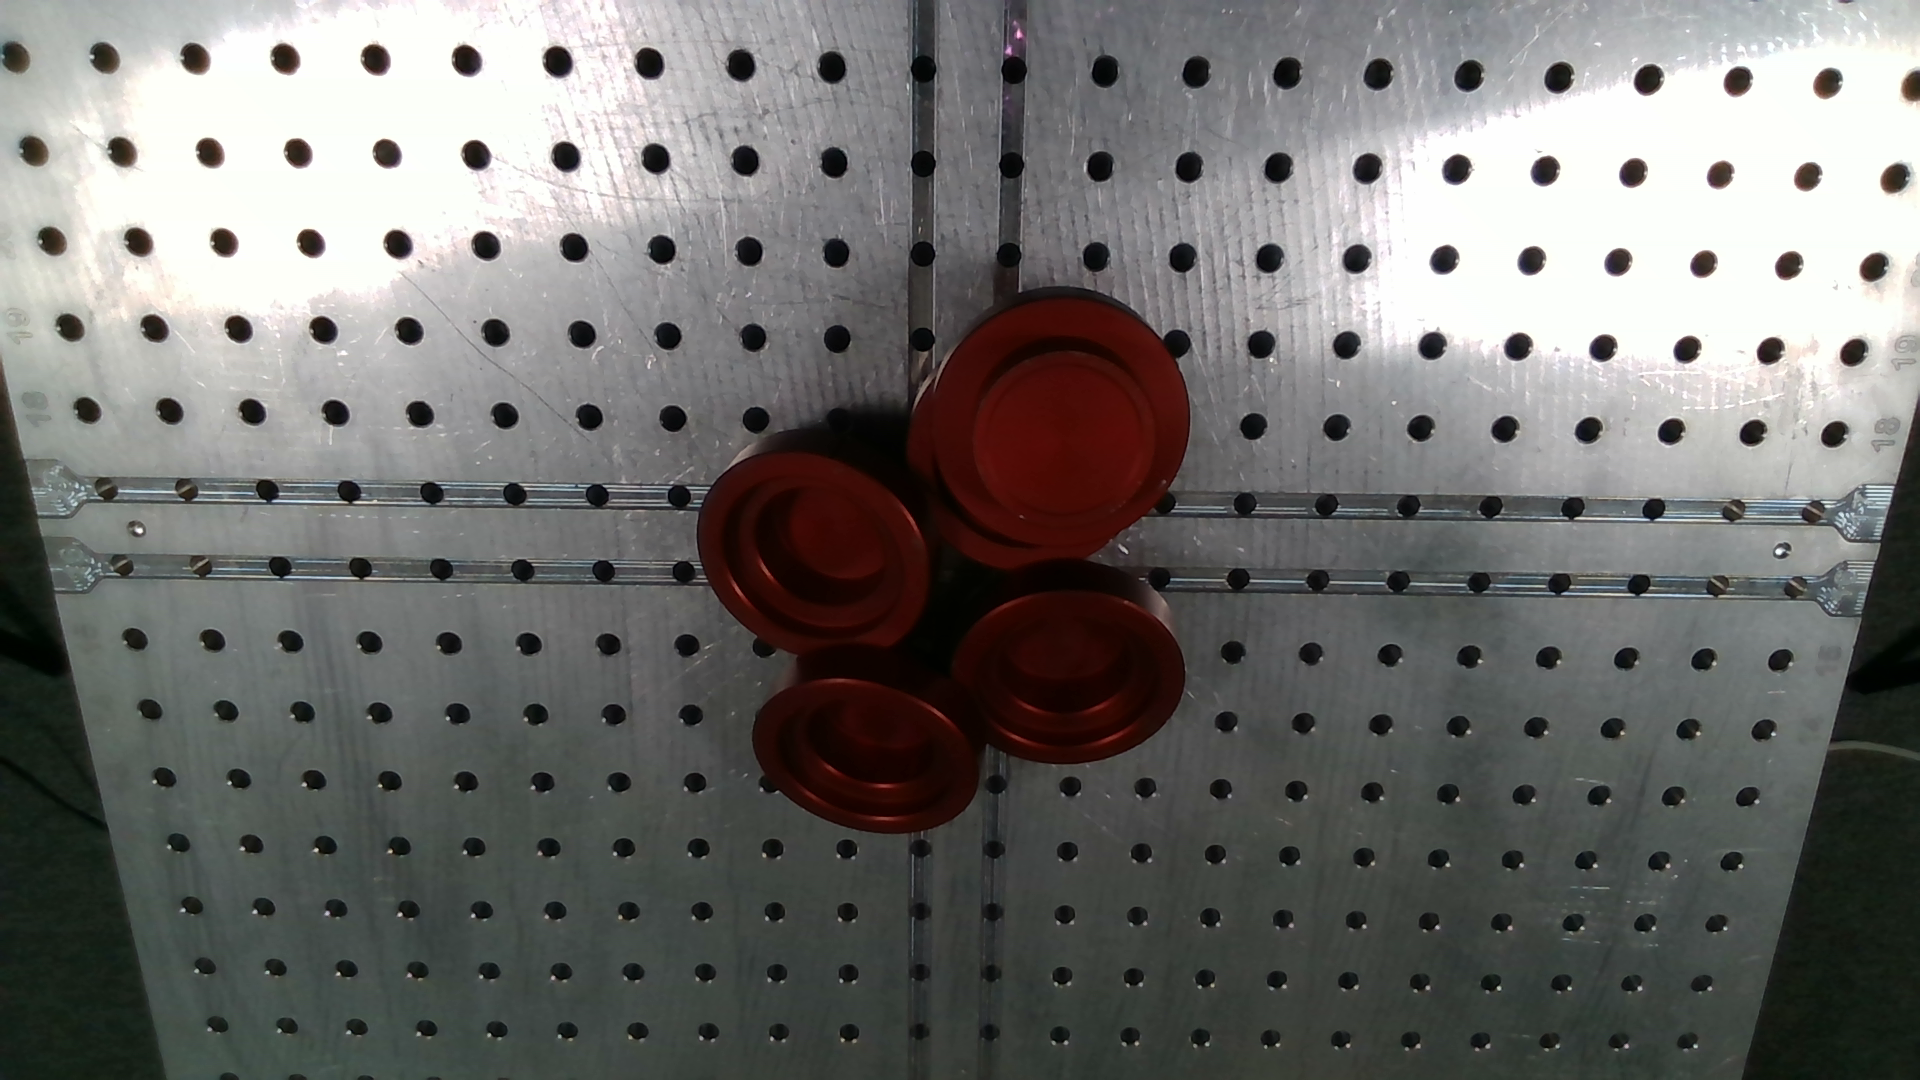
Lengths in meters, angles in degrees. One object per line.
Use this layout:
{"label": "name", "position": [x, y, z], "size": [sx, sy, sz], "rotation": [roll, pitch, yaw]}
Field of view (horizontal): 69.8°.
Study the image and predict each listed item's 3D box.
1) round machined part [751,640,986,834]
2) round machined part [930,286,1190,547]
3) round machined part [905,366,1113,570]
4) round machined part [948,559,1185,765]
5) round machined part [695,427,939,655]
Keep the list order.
{"label": "round machined part", "position": [-0.037, 0.080, 0.595], "size": [0.098, 0.042, 0.098], "rotation": [7, 132, 8]}
{"label": "round machined part", "position": [0.038, -0.043, 0.517], "size": [0.098, 0.042, 0.098], "rotation": [0, 110, 0]}
{"label": "round machined part", "position": [0.027, -0.040, 0.563], "size": [0.098, 0.042, 0.098], "rotation": [0, 110, 0]}
{"label": "round machined part", "position": [0.044, 0.047, 0.586], "size": [0.098, 0.042, 0.098], "rotation": [1, 126, 1]}
{"label": "round machined part", "position": [-0.056, -0.003, 0.568], "size": [0.098, 0.042, 0.098], "rotation": [7, 121, 12]}
